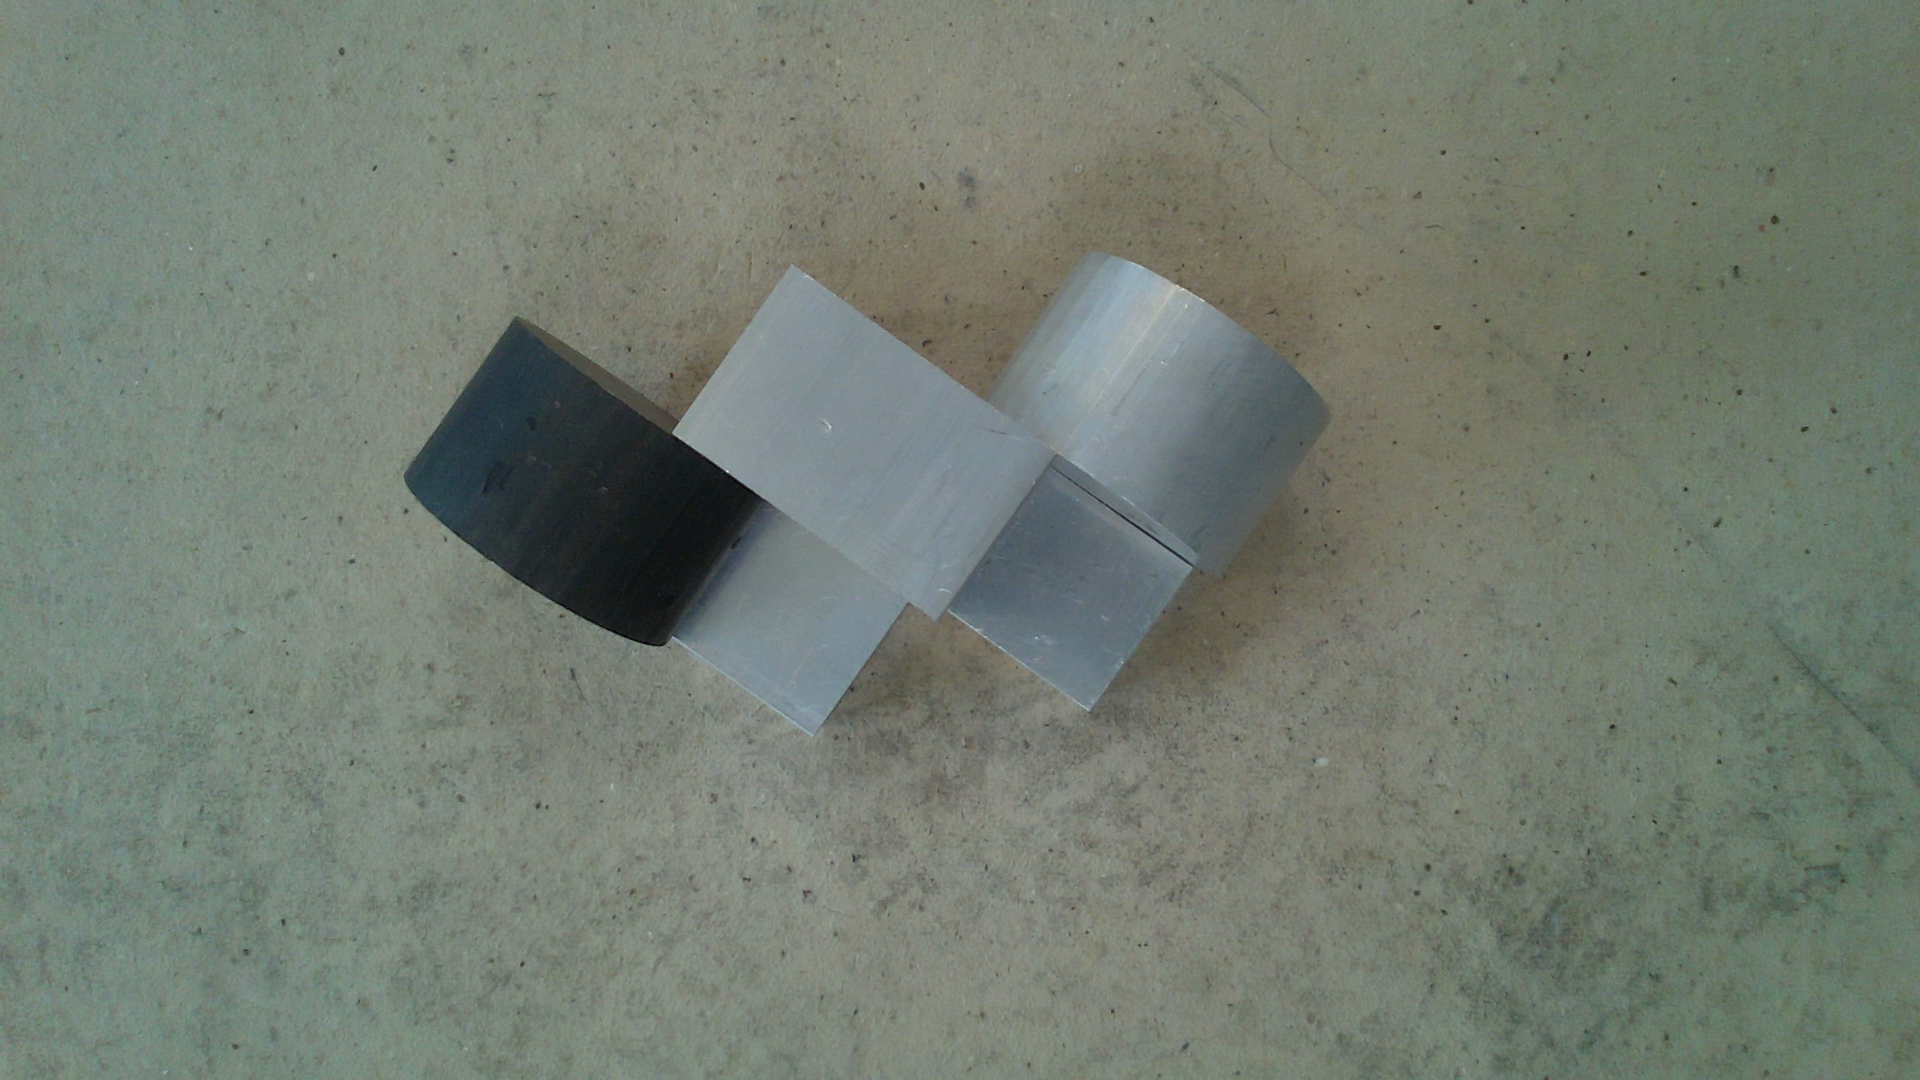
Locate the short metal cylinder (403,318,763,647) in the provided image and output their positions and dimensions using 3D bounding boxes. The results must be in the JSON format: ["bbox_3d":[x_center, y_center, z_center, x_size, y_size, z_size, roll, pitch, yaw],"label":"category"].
[{"bbox_3d":[-0.098,-0.015,0.368,0.080,0.080,0.050,35,90,0],"label":"short metal cylinder"}]

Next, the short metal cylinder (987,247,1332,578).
[{"bbox_3d":[0.051,-0.033,0.368,0.080,0.080,0.050,35,90,0],"label":"short metal cylinder"}]

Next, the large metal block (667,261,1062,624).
[{"bbox_3d":[-0.023,-0.023,0.369,0.080,0.080,0.050,35,90,0],"label":"large metal block"}]

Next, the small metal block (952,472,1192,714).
[{"bbox_3d":[0.031,0.014,0.396,0.050,0.025,0.050,35,90,0],"label":"small metal block"}]

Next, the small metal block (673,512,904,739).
[{"bbox_3d":[-0.047,0.021,0.396,0.050,0.025,0.050,35,90,0],"label":"small metal block"}]
